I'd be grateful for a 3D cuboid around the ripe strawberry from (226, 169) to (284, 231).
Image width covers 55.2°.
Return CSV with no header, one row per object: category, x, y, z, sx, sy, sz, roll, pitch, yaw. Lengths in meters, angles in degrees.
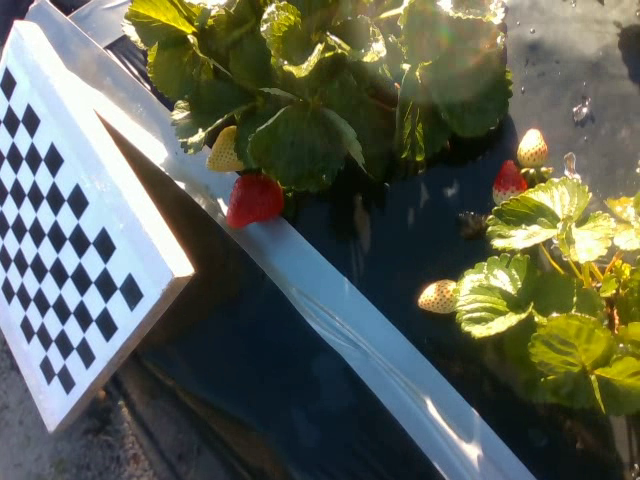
ripe strawberry,-0.054,-0.029,0.460,0.045,0.049,0.064,-19,24,41
